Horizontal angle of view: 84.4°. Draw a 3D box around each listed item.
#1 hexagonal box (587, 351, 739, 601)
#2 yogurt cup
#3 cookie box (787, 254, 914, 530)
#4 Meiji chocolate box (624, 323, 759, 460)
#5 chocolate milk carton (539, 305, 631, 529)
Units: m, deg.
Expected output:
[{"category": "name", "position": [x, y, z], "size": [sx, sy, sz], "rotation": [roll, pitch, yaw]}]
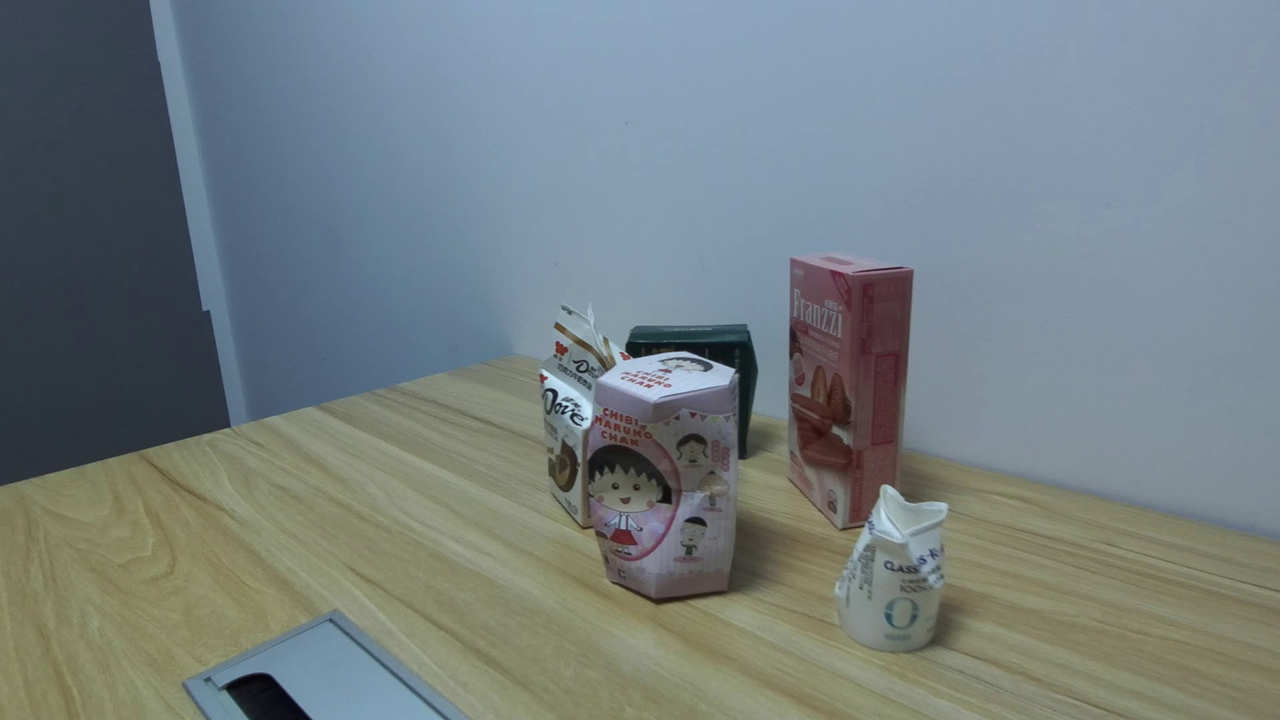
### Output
[{"category": "hexagonal box", "position": [0.016, 0.070, 0.441], "size": [0.088, 0.134, 0.093], "rotation": [1, 17, 7]}, {"category": "yogurt cup", "position": [0.138, 0.114, 0.385], "size": [0.055, 0.072, 0.055], "rotation": [-14, 23, -37]}, {"category": "cookie box", "position": [0.149, 0.020, 0.518], "size": [0.048, 0.184, 0.096], "rotation": [-5, 16, -12]}, {"category": "Meiji chocolate box", "position": [0.045, 0.025, 0.642], "size": [0.122, 0.116, 0.058], "rotation": [2, 23, 7]}, {"category": "chocolate milk carton", "position": [-0.029, 0.036, 0.537], "size": [0.074, 0.155, 0.076], "rotation": [-13, 25, -24]}]
